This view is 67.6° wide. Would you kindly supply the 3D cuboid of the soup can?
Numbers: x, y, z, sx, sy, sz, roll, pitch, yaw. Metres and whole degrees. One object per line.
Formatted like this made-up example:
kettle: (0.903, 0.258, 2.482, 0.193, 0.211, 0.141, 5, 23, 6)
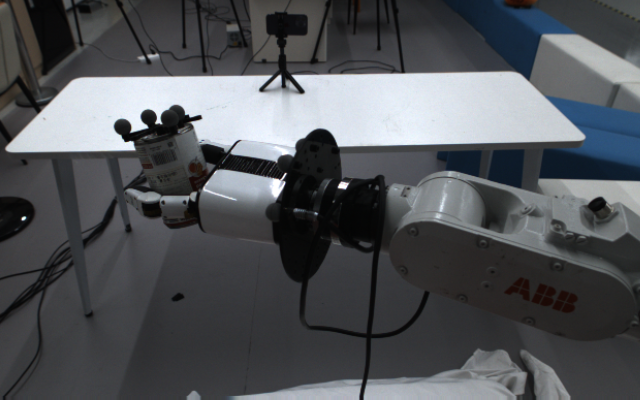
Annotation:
soup can: (-0.156, -0.026, 0.539, 0.067, 0.101, 0.067, -13, 20, 5)
